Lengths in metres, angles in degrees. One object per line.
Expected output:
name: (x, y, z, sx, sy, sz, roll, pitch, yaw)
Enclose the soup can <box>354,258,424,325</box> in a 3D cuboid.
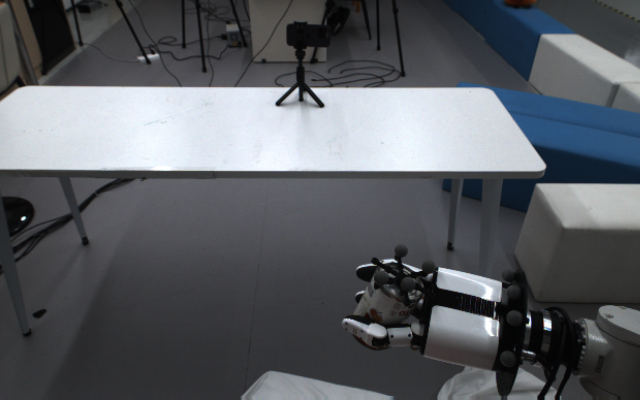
soup can: (0.088, 0.140, 0.638, 0.067, 0.101, 0.067, 14, 35, -10)
